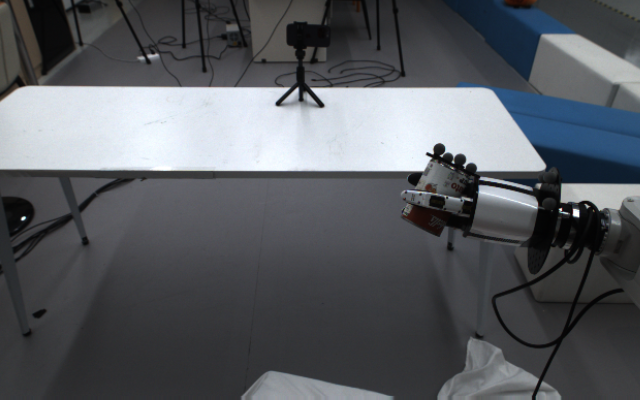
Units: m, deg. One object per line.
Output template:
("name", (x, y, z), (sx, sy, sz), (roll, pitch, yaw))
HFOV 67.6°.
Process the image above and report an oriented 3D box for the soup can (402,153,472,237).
("soup can", (0.177, -0.004, 0.738), (0.067, 0.101, 0.067), (26, 5, -3))
